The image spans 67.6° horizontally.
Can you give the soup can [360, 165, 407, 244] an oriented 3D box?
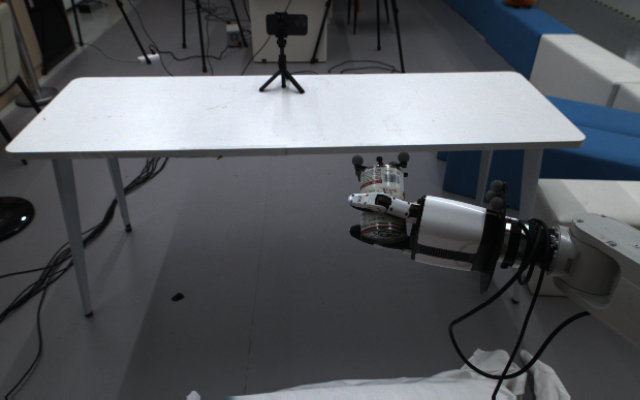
[{"bbox_3d":[0.093,0.007,0.715,0.067,0.067,0.101,2,68,0],"label":"soup can"}]
